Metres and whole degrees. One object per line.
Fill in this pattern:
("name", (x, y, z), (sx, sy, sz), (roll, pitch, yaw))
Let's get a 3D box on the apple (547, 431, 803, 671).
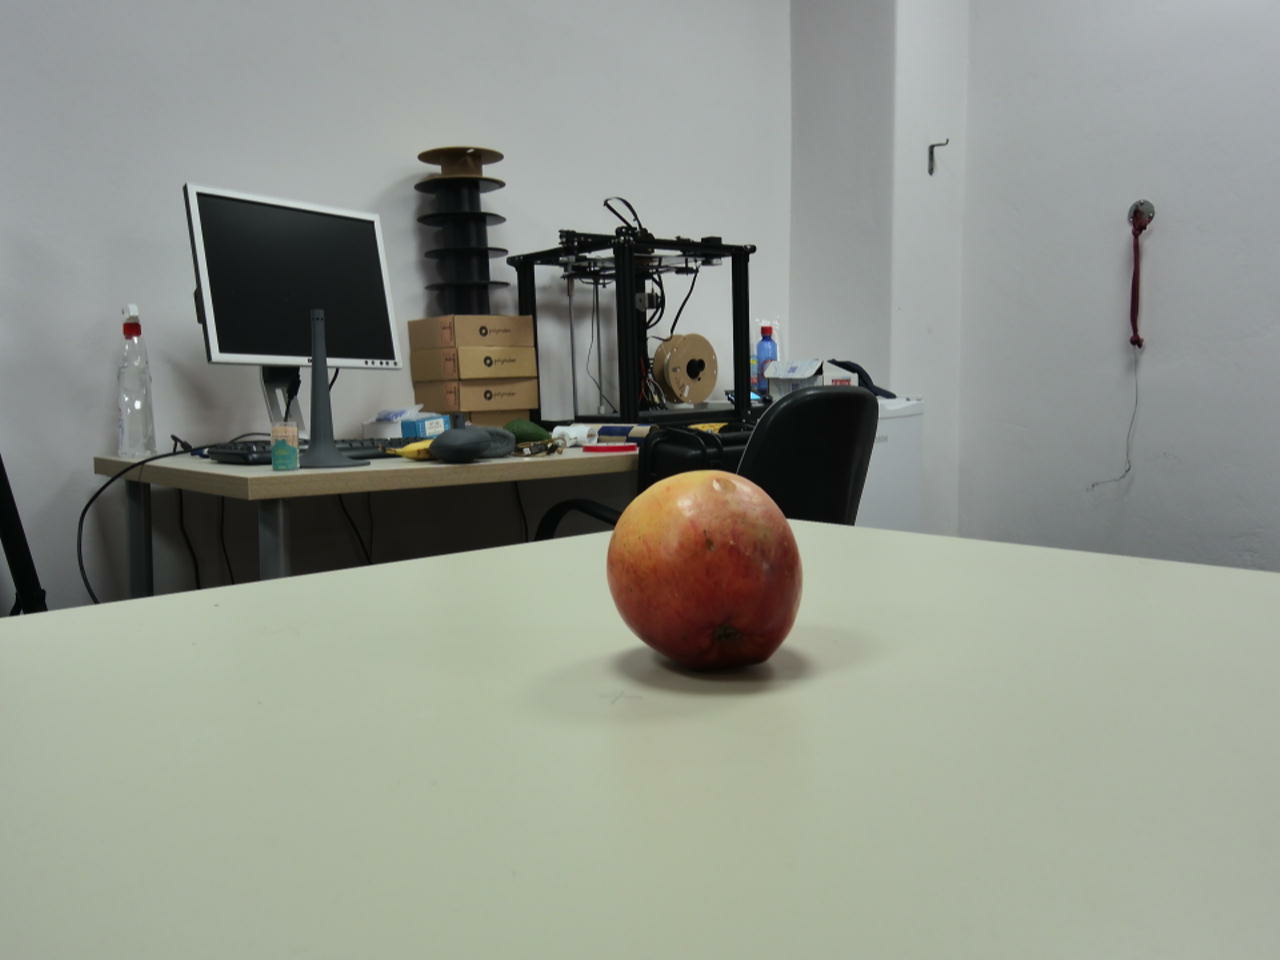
("apple", (0.029, 0.038, 0.450), (0.086, 0.084, 0.093), (1, 3, 14))
